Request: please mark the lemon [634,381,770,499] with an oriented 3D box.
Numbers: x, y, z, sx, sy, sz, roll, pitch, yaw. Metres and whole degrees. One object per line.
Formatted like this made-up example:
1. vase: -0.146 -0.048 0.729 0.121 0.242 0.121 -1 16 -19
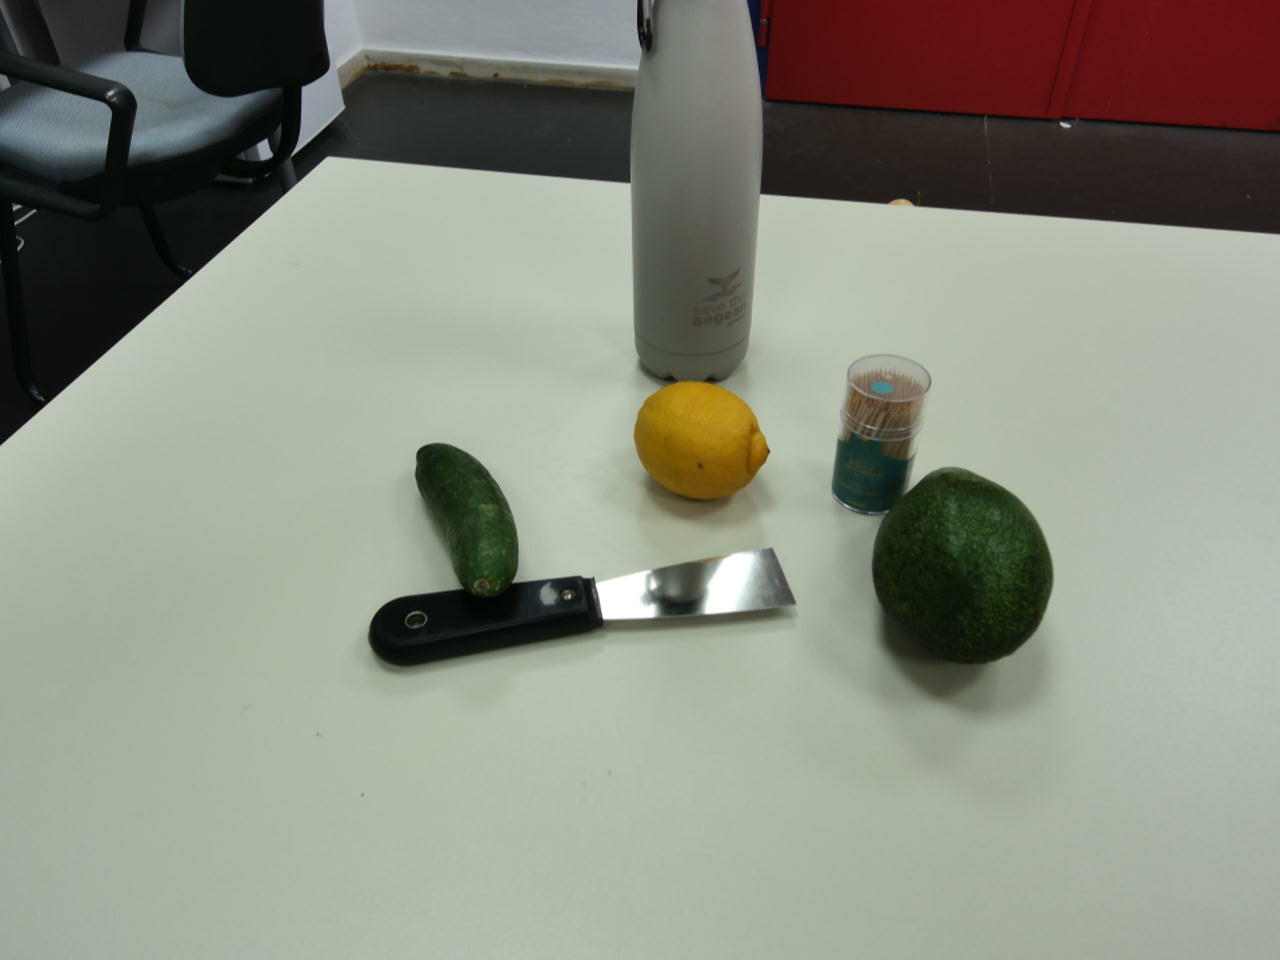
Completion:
1. lemon: 0.031 -0.020 0.519 0.060 0.059 0.067 -23 44 -26
